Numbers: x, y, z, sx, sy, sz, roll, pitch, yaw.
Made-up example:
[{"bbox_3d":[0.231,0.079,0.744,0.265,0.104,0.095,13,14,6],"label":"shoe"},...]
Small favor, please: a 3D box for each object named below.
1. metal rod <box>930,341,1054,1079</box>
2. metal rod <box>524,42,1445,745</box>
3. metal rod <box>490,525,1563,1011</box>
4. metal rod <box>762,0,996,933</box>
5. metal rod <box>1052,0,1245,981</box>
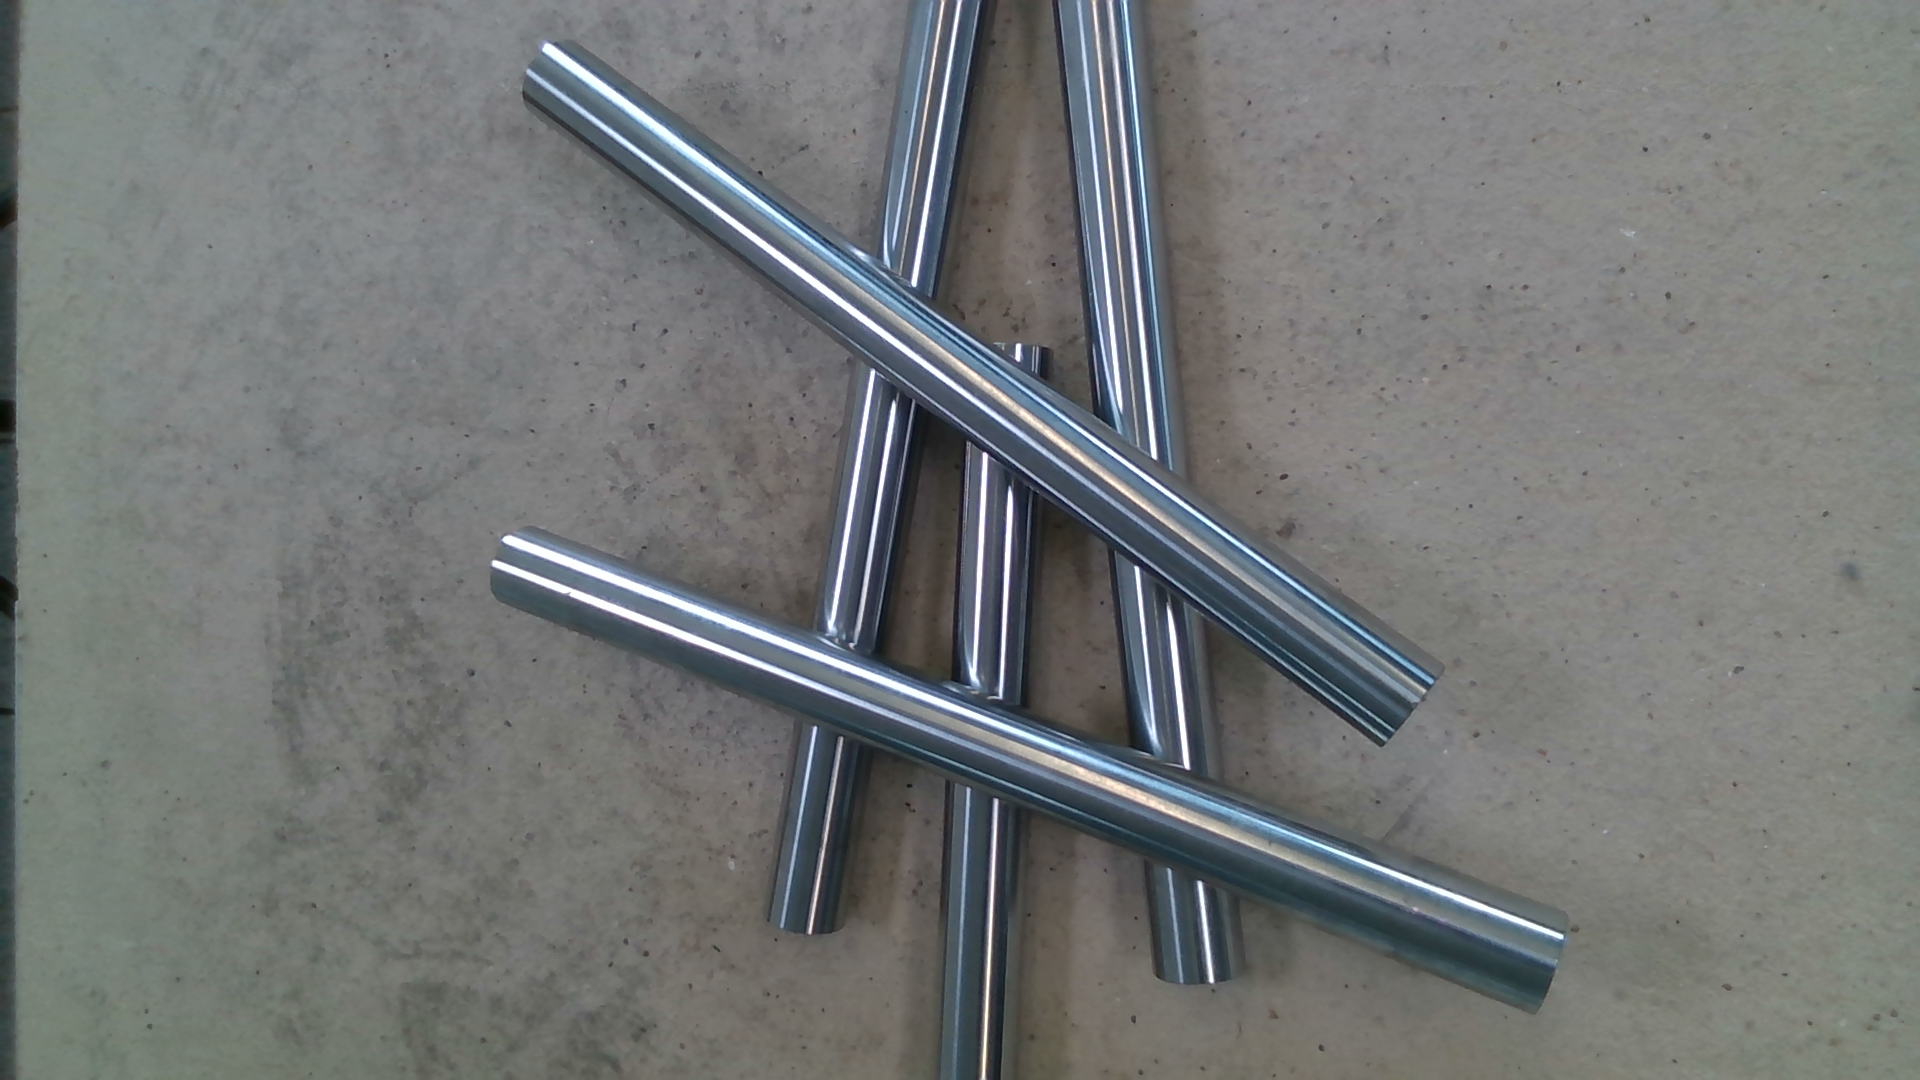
[{"bbox_3d":[0.007,0.095,0.392,0.025,0.025,0.300,3,92,20],"label":"metal rod"},{"bbox_3d":[-0.006,-0.049,0.370,0.300,0.025,0.025,38,102,16],"label":"metal rod"},{"bbox_3d":[0.001,0.052,0.368,0.300,0.025,0.025,18,96,19],"label":"metal rod"},{"bbox_3d":[-0.022,-0.035,0.402,0.025,0.025,0.300,11,94,20],"label":"metal rod"},{"bbox_3d":[0.049,-0.034,0.376,0.025,0.025,0.300,-6,88,20],"label":"metal rod"}]
